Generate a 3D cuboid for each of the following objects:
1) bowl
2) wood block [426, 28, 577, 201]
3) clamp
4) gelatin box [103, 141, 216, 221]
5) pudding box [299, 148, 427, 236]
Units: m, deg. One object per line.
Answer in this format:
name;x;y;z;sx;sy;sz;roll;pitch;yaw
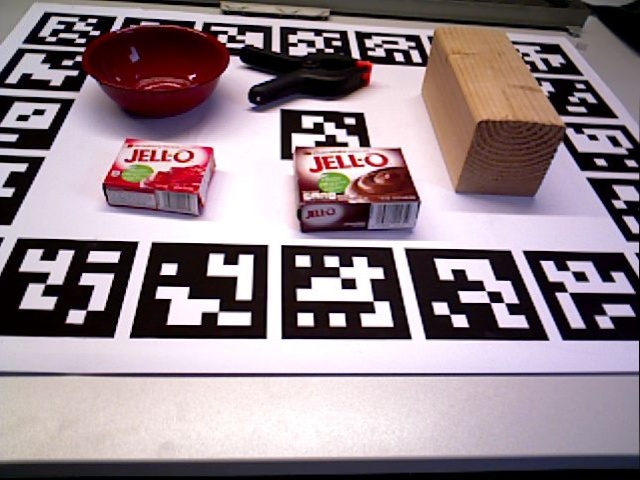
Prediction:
bowl;-0.185;-0.182;0.623;0.160;0.056;0.159;4;48;-5
wood block;0.188;-0.145;0.596;0.089;0.093;0.203;3;46;-6
clamp;-0.030;-0.201;0.675;0.163;0.037;0.120;-6;47;-15
gelatin box;-0.148;-0.058;0.512;0.089;0.031;0.072;7;47;-1
pudding box;0.037;-0.047;0.520;0.113;0.039;0.088;-1;50;-5
